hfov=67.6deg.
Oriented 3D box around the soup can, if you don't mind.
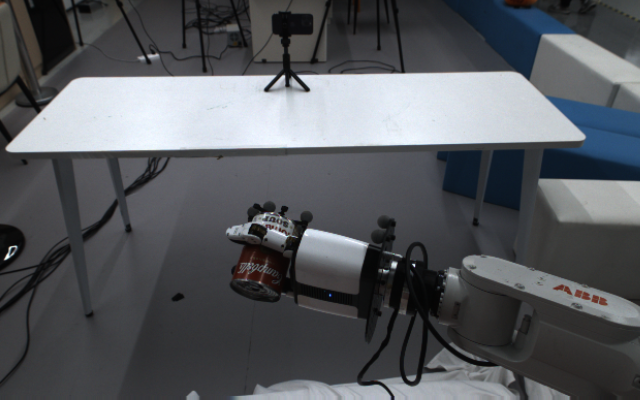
[{"bbox_3d":[-0.071,0.075,0.638,0.067,0.067,0.101,9,58,10],"label":"soup can"}]
